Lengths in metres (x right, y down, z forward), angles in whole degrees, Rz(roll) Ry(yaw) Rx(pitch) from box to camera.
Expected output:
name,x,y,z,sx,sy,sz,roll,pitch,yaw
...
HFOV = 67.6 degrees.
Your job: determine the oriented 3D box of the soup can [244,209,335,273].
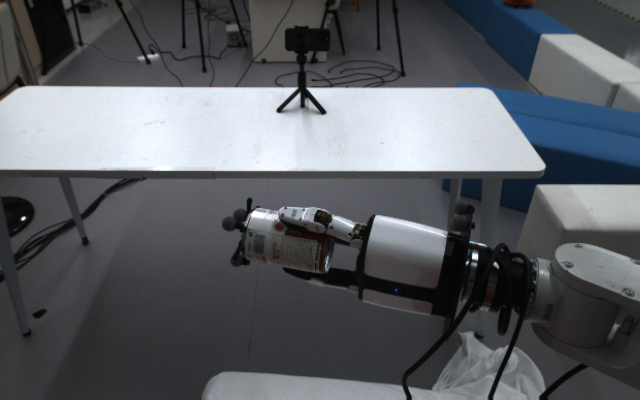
name,x,y,z,sx,sy,sz,roll,pitch,yaw
soup can,-0.034,0.049,0.590,0.101,0.067,0.067,9,35,9
